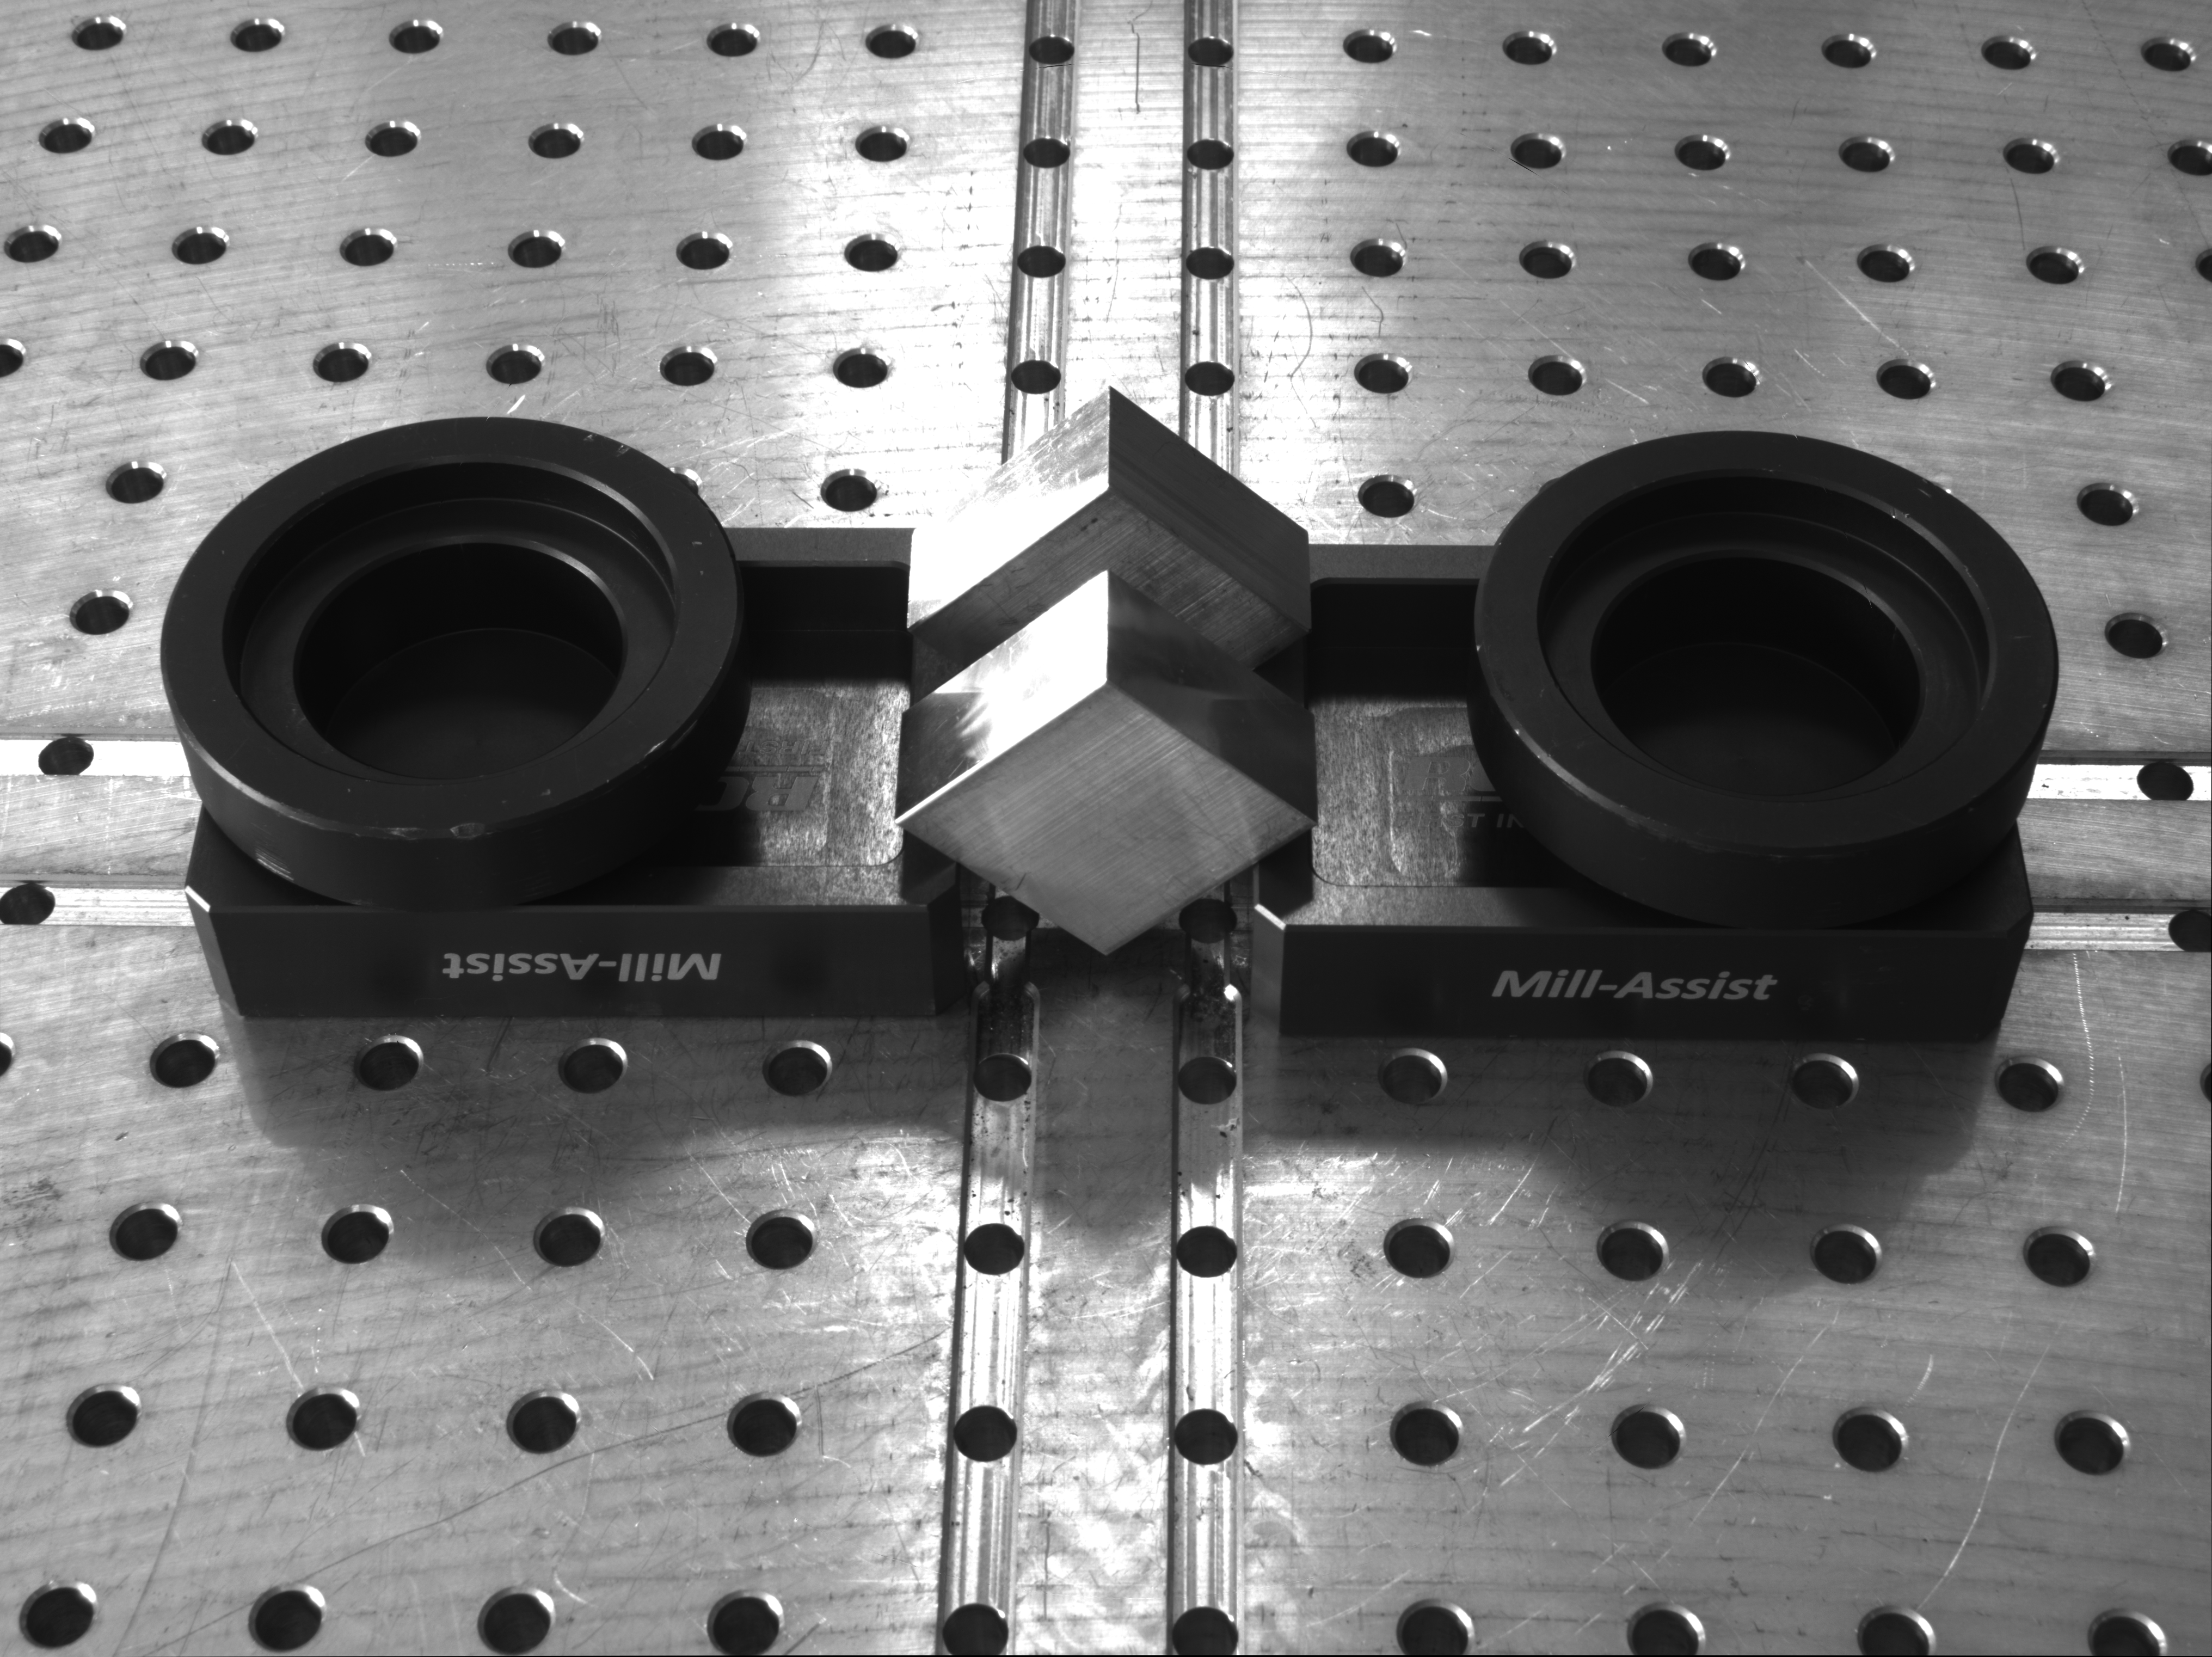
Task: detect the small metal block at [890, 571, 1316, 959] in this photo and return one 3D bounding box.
[{"bbox_3d":[0.000,-0.010,0.617,0.050,0.050,0.025,-32,40,33],"label":"small metal block"}]

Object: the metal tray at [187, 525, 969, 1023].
[{"bbox_3d":[-0.090,-0.011,0.652,0.130,0.030,0.090,0,52,0],"label":"metal tray"}]

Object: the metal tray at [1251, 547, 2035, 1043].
[{"bbox_3d":[0.091,-0.007,0.648,0.130,0.030,0.090,1,50,0],"label":"metal tray"}]

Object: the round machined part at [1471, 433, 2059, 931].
[{"bbox_3d":[0.111,-0.020,0.634,0.098,0.042,0.098,0,50,0],"label":"round machined part"}]

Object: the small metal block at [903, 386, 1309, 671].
[{"bbox_3d":[0.000,-0.043,0.647,0.050,0.050,0.025,-32,40,33],"label":"small metal block"}]

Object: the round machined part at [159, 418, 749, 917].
[{"bbox_3d":[-0.111,-0.023,0.637,0.098,0.042,0.098,0,50,0],"label":"round machined part"}]
